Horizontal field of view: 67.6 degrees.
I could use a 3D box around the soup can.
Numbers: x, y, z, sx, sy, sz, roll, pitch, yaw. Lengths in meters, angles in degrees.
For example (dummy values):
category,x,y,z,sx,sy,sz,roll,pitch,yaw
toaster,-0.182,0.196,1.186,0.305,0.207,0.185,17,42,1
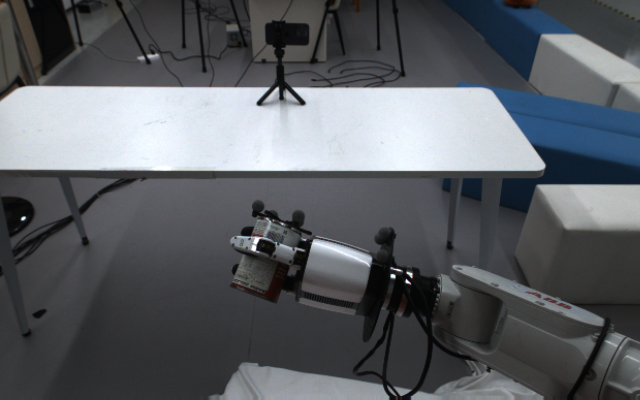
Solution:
category,x,y,z,sx,sy,sz,roll,pitch,yaw
soup can,-0.071,0.083,0.661,0.067,0.067,0.101,16,75,19
